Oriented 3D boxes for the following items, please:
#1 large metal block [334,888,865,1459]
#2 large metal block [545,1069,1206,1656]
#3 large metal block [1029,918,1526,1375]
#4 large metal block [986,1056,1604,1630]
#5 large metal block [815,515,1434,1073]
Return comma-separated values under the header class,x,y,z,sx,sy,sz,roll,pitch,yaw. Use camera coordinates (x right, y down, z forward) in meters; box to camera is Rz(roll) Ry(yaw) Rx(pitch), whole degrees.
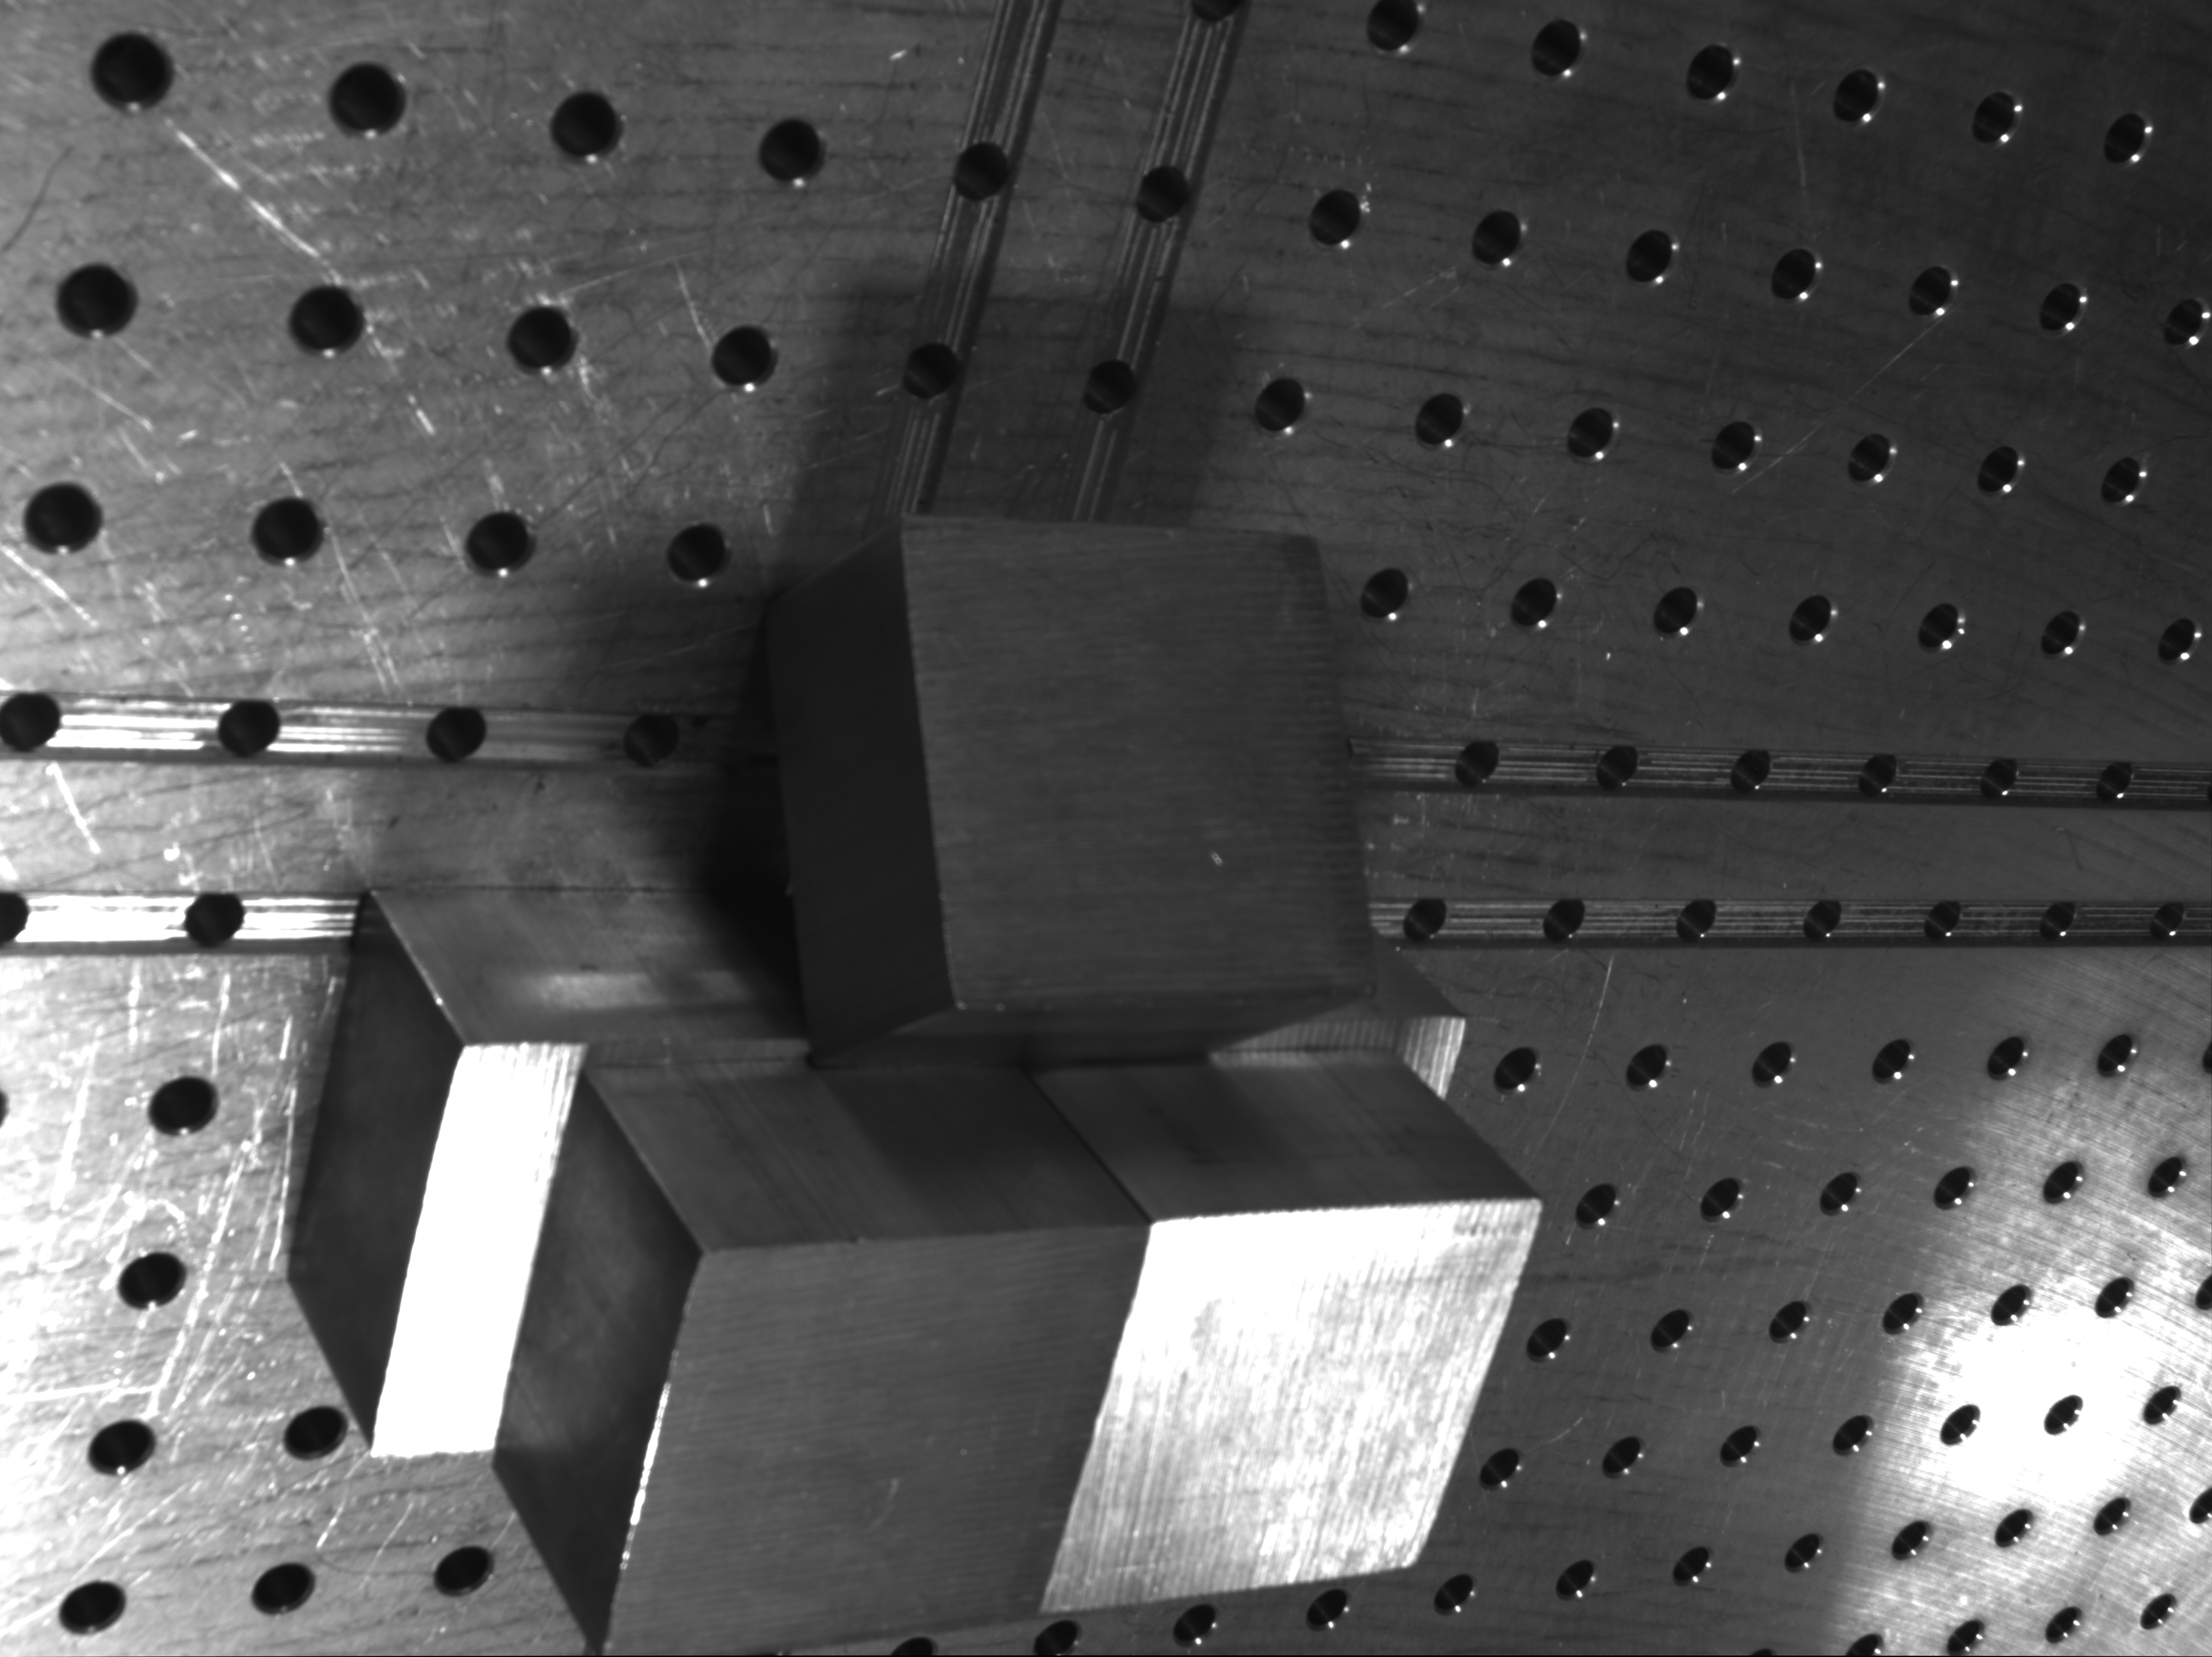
class,x,y,z,sx,sy,sz,roll,pitch,yaw
large metal block,-0.080,0.058,0.628,0.080,0.050,0.080,2,117,-31
large metal block,-0.039,0.087,0.599,0.080,0.050,0.080,0,118,-30
large metal block,0.022,0.059,0.686,0.080,0.050,0.080,-1,119,-30
large metal block,0.030,0.088,0.642,0.080,0.050,0.080,0,118,-30
large metal block,0.002,-0.004,0.609,0.080,0.050,0.080,0,76,-31
